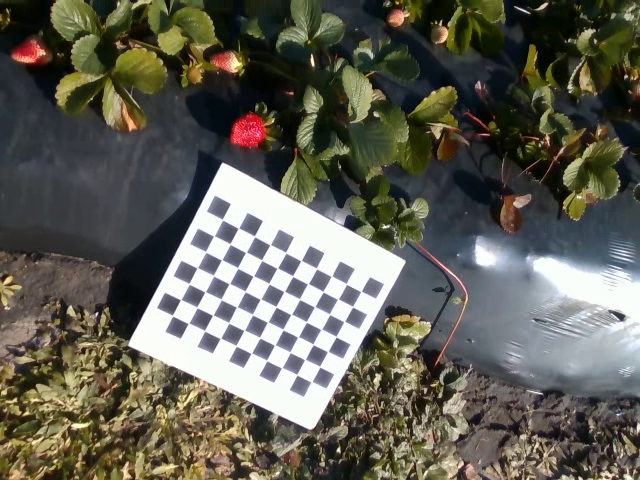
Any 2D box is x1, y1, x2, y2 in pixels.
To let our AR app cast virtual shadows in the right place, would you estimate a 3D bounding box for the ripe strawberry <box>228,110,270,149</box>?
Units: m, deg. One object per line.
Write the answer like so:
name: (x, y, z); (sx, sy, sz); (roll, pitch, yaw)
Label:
ripe strawberry: (-0.096, -0.136, 0.774); (0.058, 0.066, 0.062); (-12, 15, 22)
